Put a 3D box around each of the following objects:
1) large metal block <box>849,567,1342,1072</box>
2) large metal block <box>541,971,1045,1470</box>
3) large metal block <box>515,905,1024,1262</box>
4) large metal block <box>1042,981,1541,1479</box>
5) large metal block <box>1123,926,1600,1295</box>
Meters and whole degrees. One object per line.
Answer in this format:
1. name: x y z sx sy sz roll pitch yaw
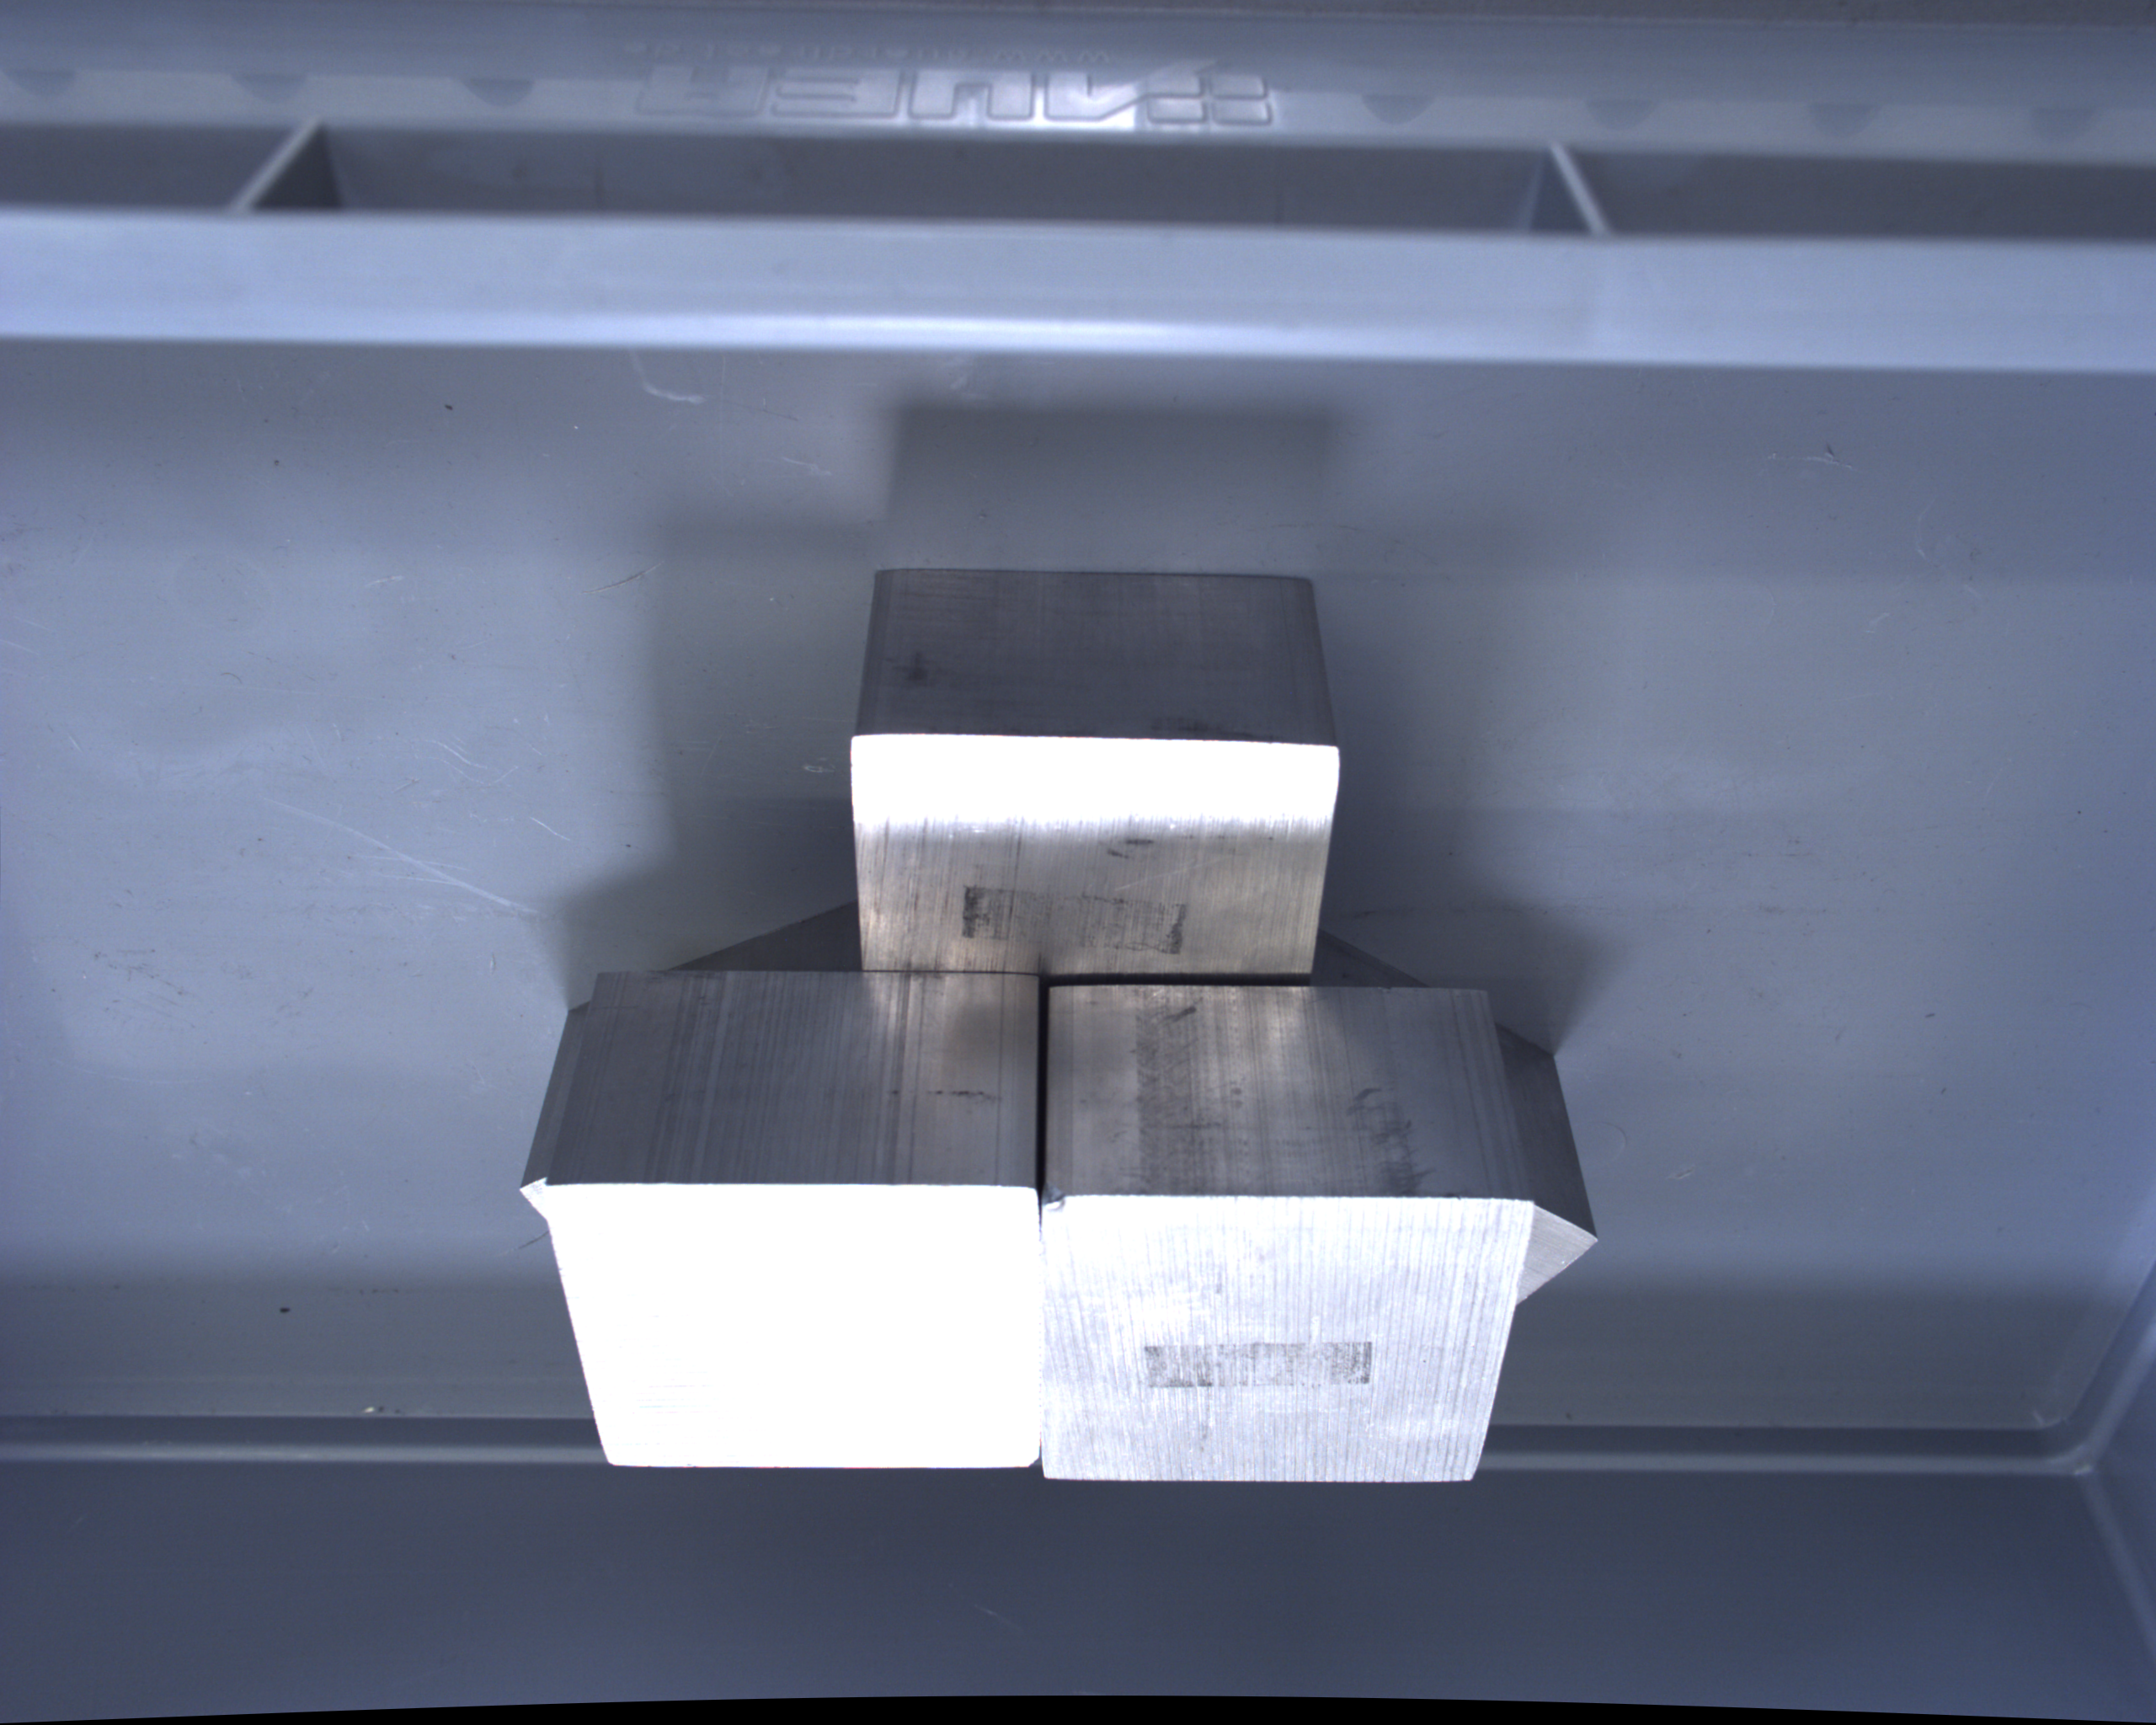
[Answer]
1. large metal block: 0.002 -0.006 0.385 0.081 0.050 0.079 1 130 -1
2. large metal block: -0.047 0.066 0.381 0.081 0.050 0.079 0 130 -1
3. large metal block: -0.057 0.062 0.443 0.080 0.050 0.080 -21 127 16
4. large metal block: 0.034 0.068 0.381 0.081 0.050 0.079 0 130 -1
5. large metal block: 0.049 0.067 0.446 0.080 0.050 0.080 28 125 -21
